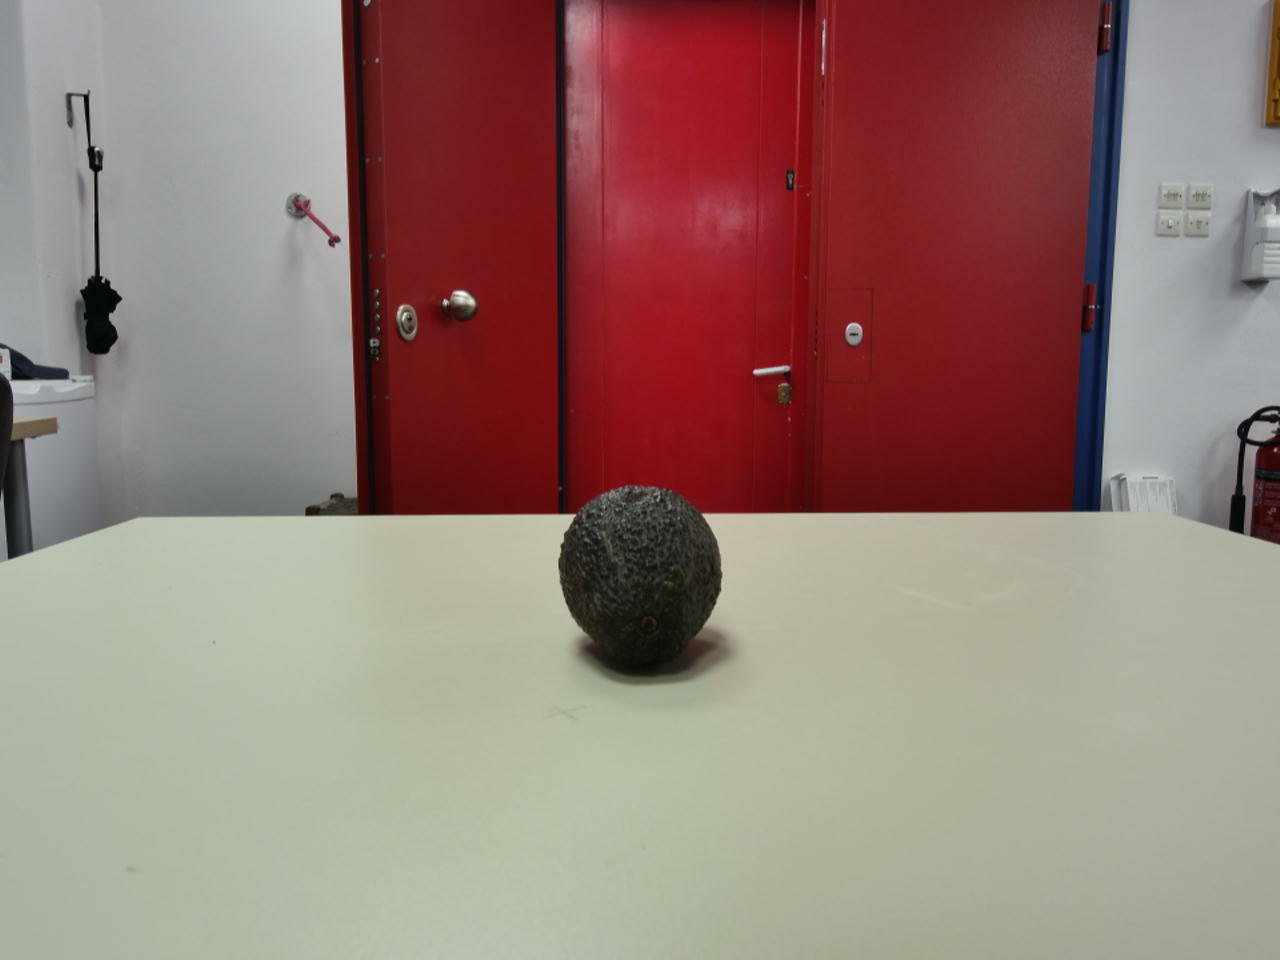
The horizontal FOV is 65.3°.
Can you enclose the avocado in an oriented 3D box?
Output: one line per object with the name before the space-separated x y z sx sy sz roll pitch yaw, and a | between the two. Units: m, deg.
avocado | -0.002 0.038 0.419 0.070 0.069 0.090 2 4 24
